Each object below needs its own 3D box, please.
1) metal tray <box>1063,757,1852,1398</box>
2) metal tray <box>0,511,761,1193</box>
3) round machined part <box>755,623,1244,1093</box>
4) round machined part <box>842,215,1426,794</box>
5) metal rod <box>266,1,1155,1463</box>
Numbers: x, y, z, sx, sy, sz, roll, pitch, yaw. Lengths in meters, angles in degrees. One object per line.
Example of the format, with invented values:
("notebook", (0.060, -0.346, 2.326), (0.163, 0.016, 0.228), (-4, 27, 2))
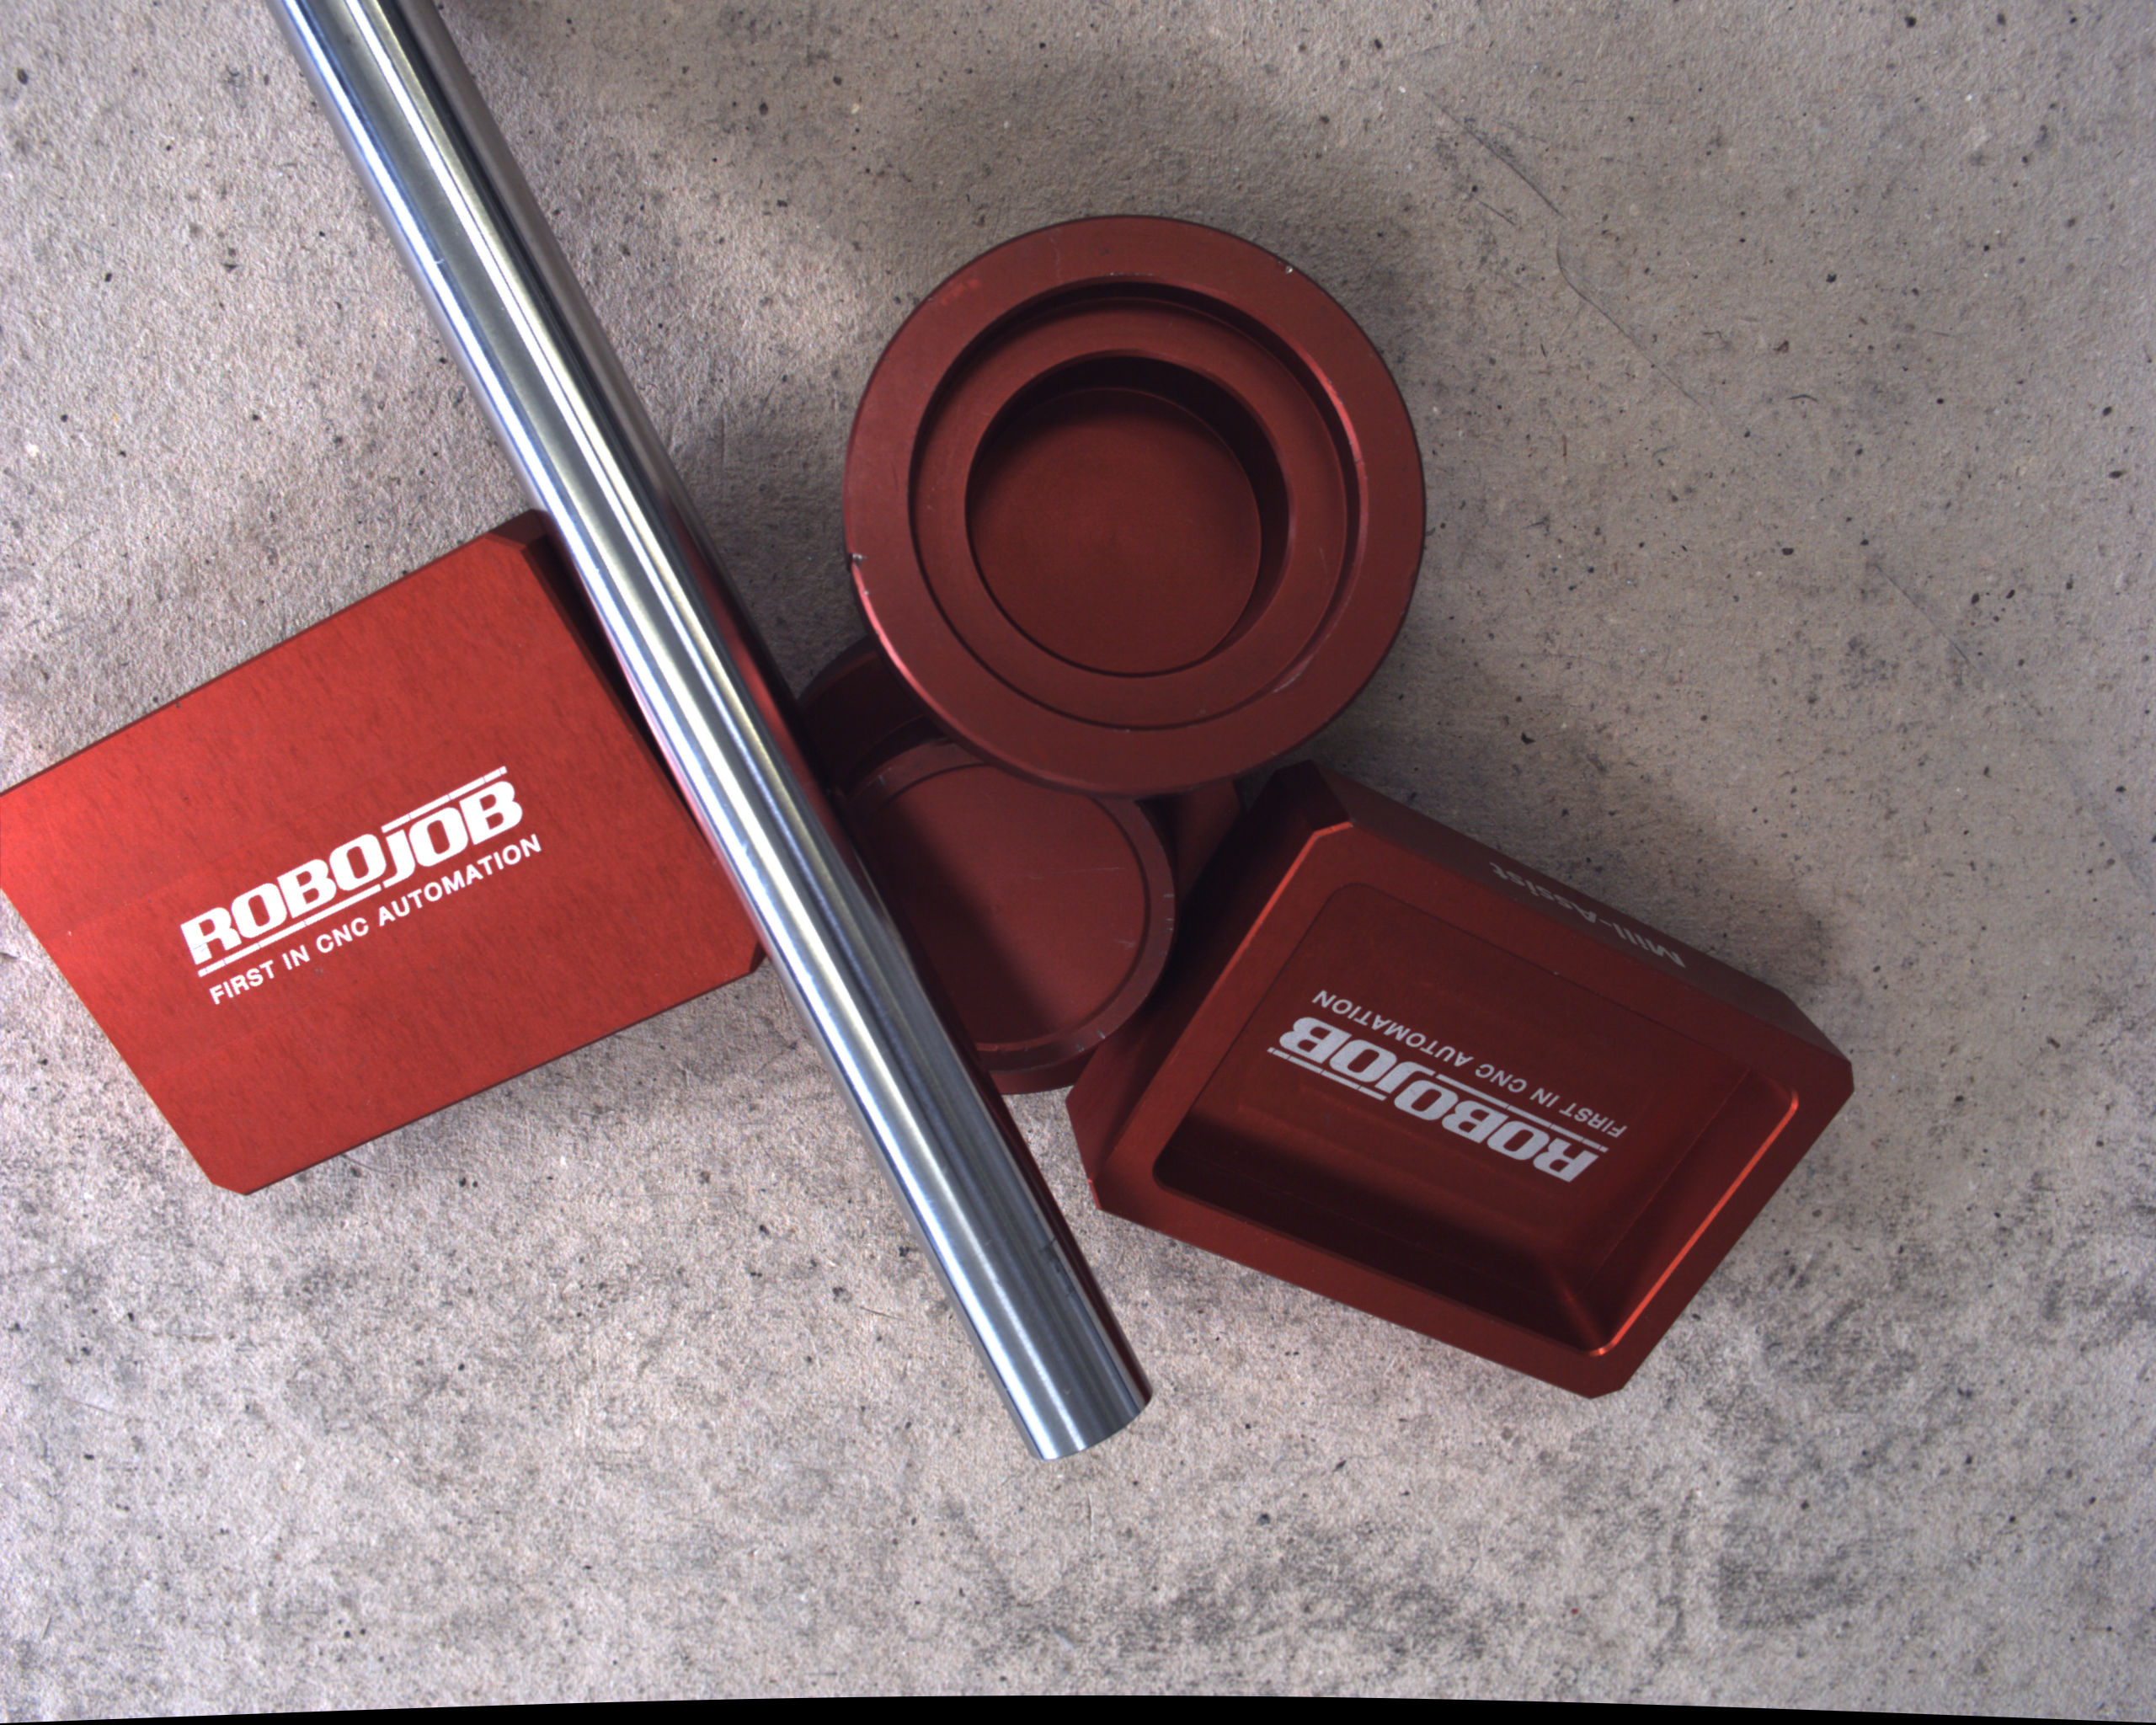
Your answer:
("metal tray", (0.075, 0.046, 0.414), (0.131, 0.030, 0.090), (25, 108, -20))
("metal tray", (-0.130, 0.000, 0.395), (0.130, 0.030, 0.090), (-23, 106, 17))
("round machined part", (-0.016, 0.001, 0.403), (0.099, 0.042, 0.097), (0, 110, 0))
("round machined part", (0.008, -0.060, 0.368), (0.099, 0.042, 0.097), (0, 88, -7))
("metal rod", (-0.065, -0.032, 0.363), (0.025, 0.025, 0.299), (-26, 95, 9))
